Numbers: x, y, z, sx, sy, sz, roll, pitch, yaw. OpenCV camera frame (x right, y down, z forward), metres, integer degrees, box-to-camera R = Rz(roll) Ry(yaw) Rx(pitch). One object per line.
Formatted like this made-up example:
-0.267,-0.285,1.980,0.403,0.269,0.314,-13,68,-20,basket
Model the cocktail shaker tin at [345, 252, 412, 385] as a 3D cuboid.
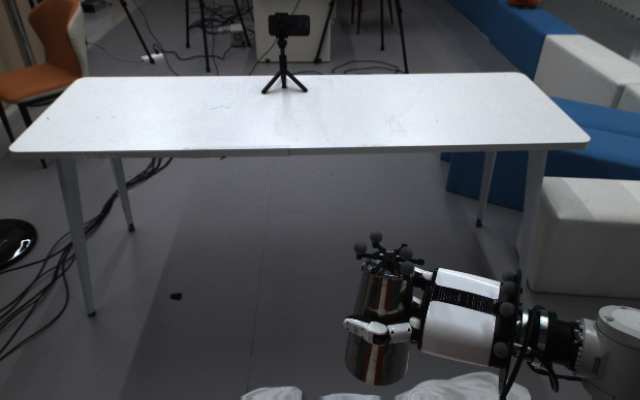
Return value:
0.087,0.159,0.671,0.093,0.170,0.093,3,25,-1,cocktail shaker tin
